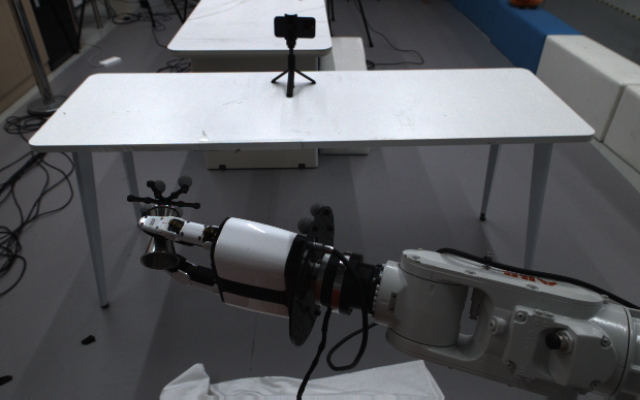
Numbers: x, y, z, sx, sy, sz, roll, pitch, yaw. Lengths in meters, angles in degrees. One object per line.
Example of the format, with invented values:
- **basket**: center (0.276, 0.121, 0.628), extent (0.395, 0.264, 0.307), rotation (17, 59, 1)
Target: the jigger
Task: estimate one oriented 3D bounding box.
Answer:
- **jigger**: center (-0.192, 0.045, 0.591), extent (0.043, 0.043, 0.071), rotation (-4, 57, -8)
